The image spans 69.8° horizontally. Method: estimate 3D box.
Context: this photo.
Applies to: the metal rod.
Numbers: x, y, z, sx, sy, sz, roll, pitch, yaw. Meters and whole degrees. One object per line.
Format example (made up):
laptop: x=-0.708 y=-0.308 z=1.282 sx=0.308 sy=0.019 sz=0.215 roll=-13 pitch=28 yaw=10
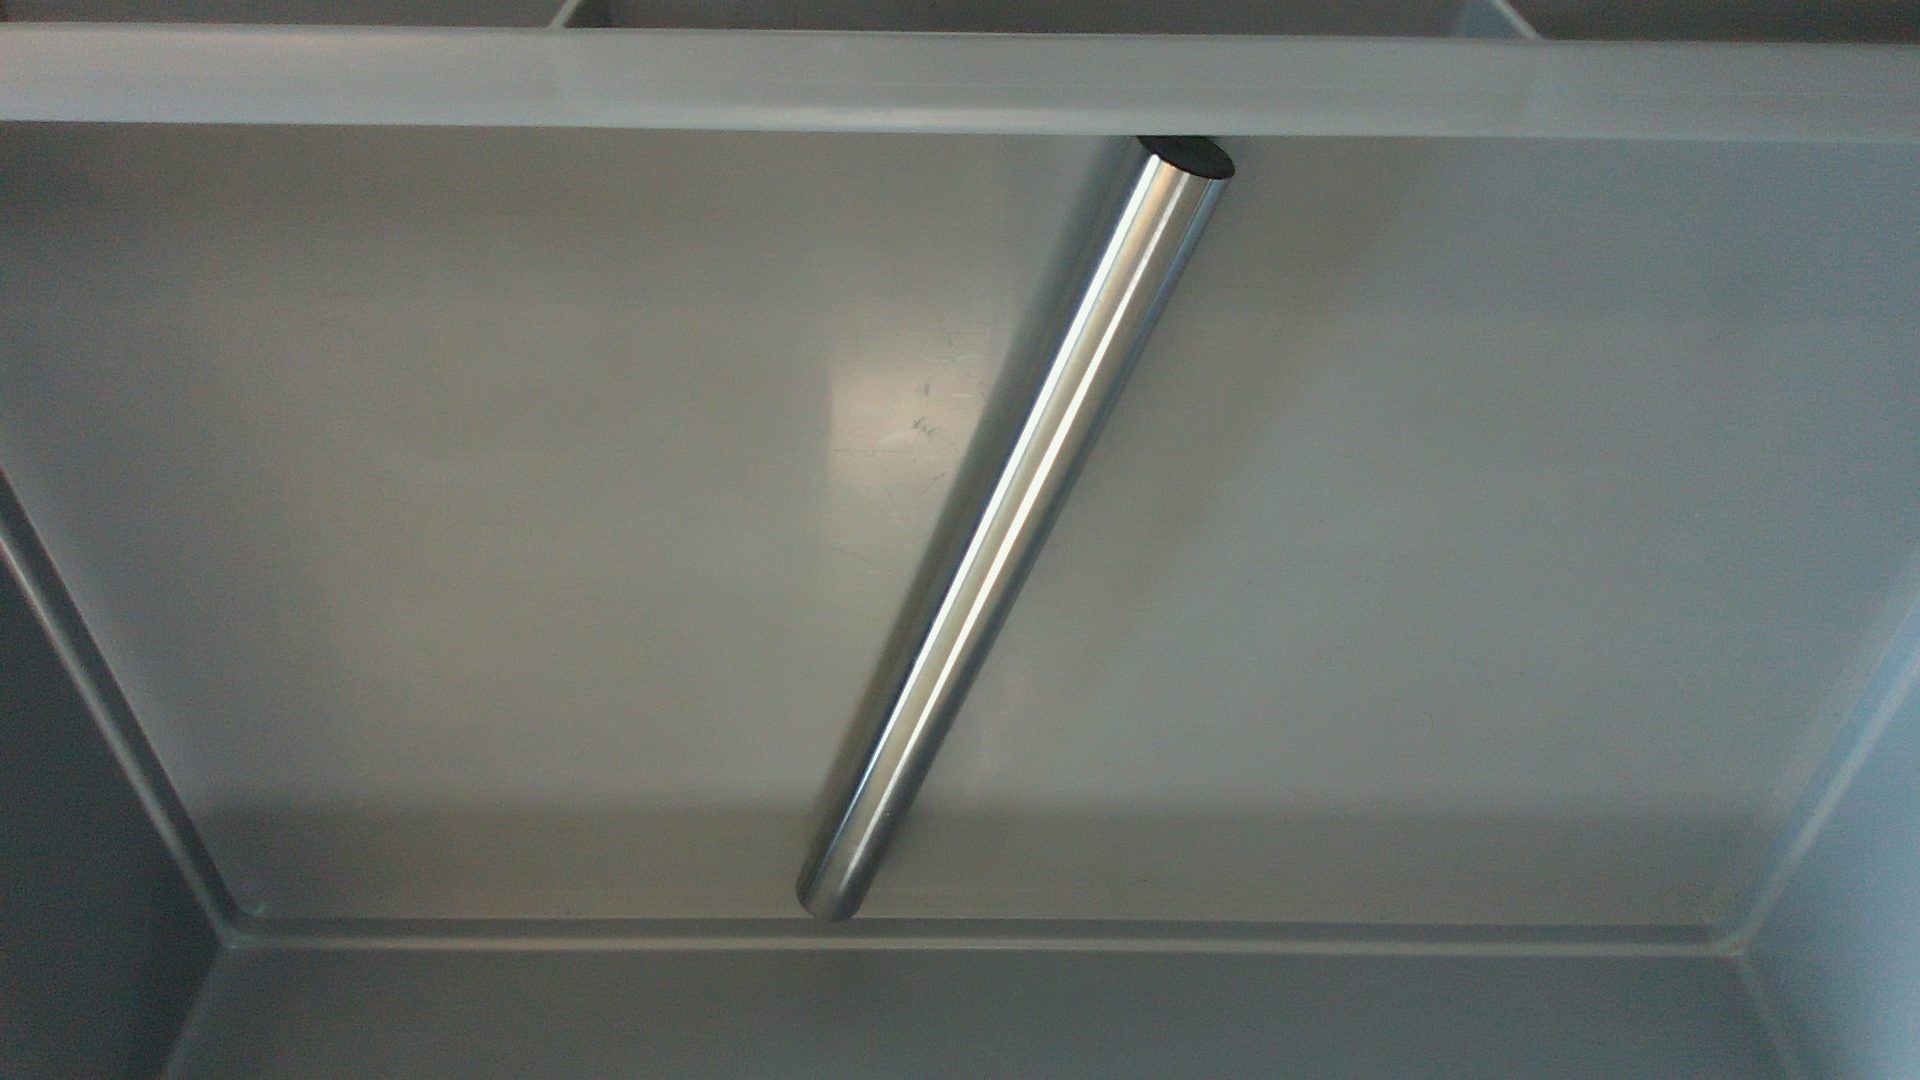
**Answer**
metal rod: x=0.001 y=0.019 z=0.404 sx=0.025 sy=0.025 sz=0.299 roll=15 pitch=128 yaw=-12
